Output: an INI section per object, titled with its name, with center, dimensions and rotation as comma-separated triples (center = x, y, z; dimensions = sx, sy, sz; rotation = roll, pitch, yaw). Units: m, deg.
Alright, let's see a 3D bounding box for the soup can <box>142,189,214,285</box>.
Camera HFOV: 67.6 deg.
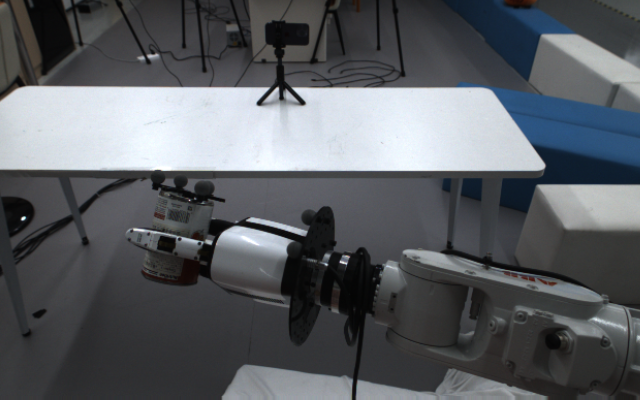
[soup can]
center = -0.170, 0.047, 0.584
dimensions = 0.067, 0.101, 0.067
rotation = 13, 1, 0
